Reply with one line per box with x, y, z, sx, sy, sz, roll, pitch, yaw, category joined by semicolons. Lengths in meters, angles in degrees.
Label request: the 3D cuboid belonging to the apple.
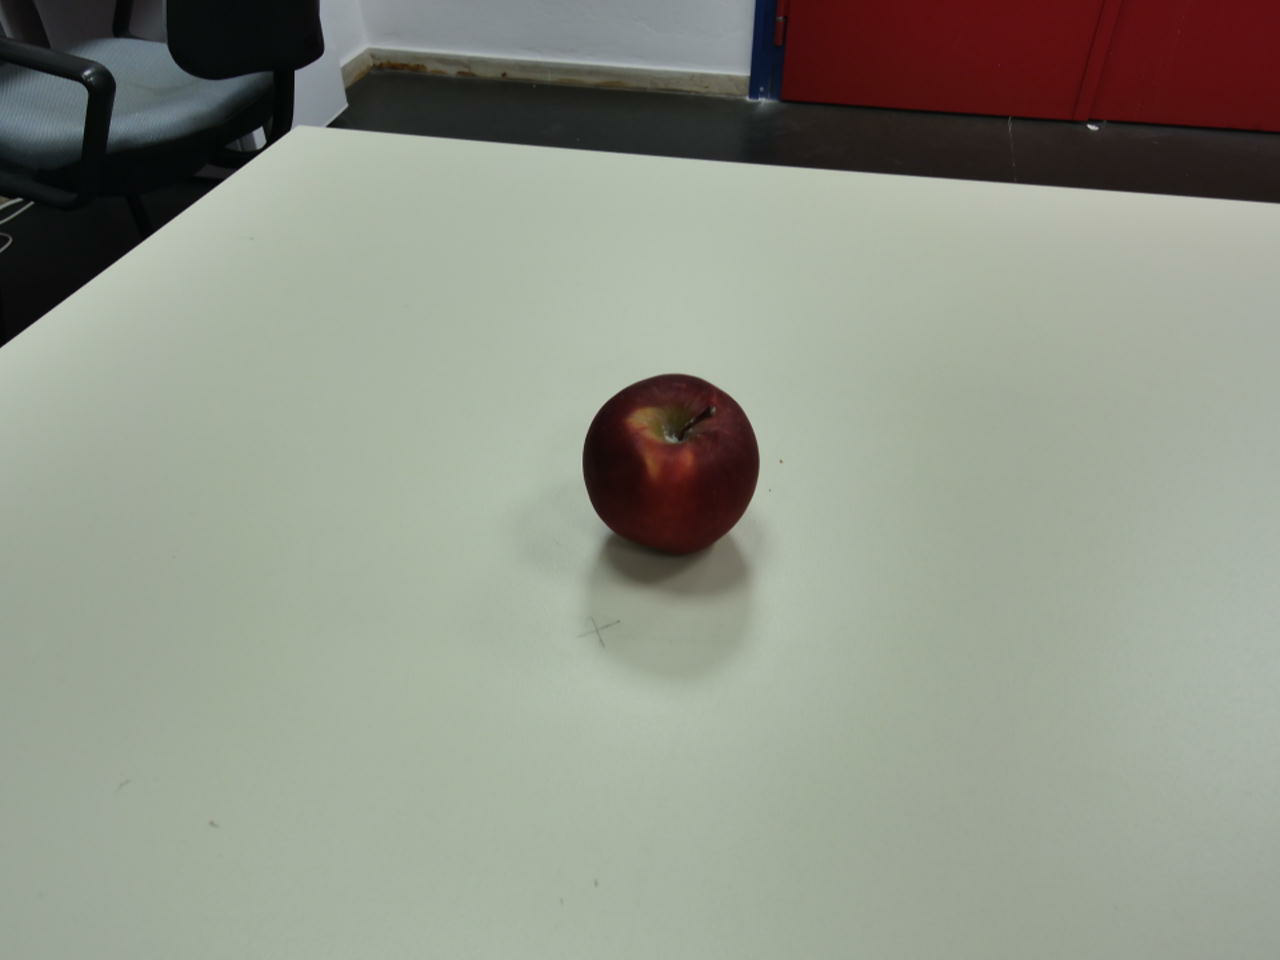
0.012;-0.005;0.390;0.070;0.072;0.070;1;38;-1;apple
